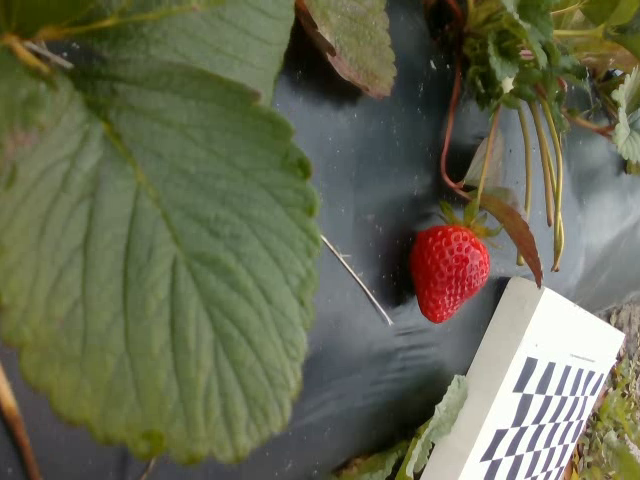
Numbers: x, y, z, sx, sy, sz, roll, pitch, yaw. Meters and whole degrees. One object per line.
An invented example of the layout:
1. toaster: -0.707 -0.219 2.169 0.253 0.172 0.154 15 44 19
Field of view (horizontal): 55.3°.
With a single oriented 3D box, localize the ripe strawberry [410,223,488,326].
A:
1. ripe strawberry: 0.038 0.011 0.176 0.022 0.033 0.028 20 -16 41
